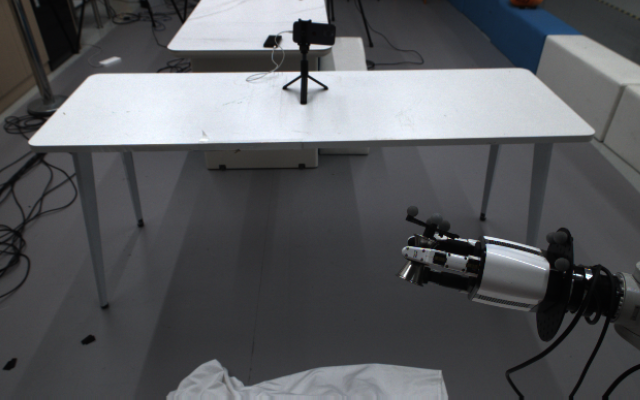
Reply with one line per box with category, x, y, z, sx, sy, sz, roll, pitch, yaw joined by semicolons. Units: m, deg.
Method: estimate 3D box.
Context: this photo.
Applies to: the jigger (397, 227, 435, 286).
jigger;0.142;0.085;0.707;0.043;0.071;0.043;24;-3;1
